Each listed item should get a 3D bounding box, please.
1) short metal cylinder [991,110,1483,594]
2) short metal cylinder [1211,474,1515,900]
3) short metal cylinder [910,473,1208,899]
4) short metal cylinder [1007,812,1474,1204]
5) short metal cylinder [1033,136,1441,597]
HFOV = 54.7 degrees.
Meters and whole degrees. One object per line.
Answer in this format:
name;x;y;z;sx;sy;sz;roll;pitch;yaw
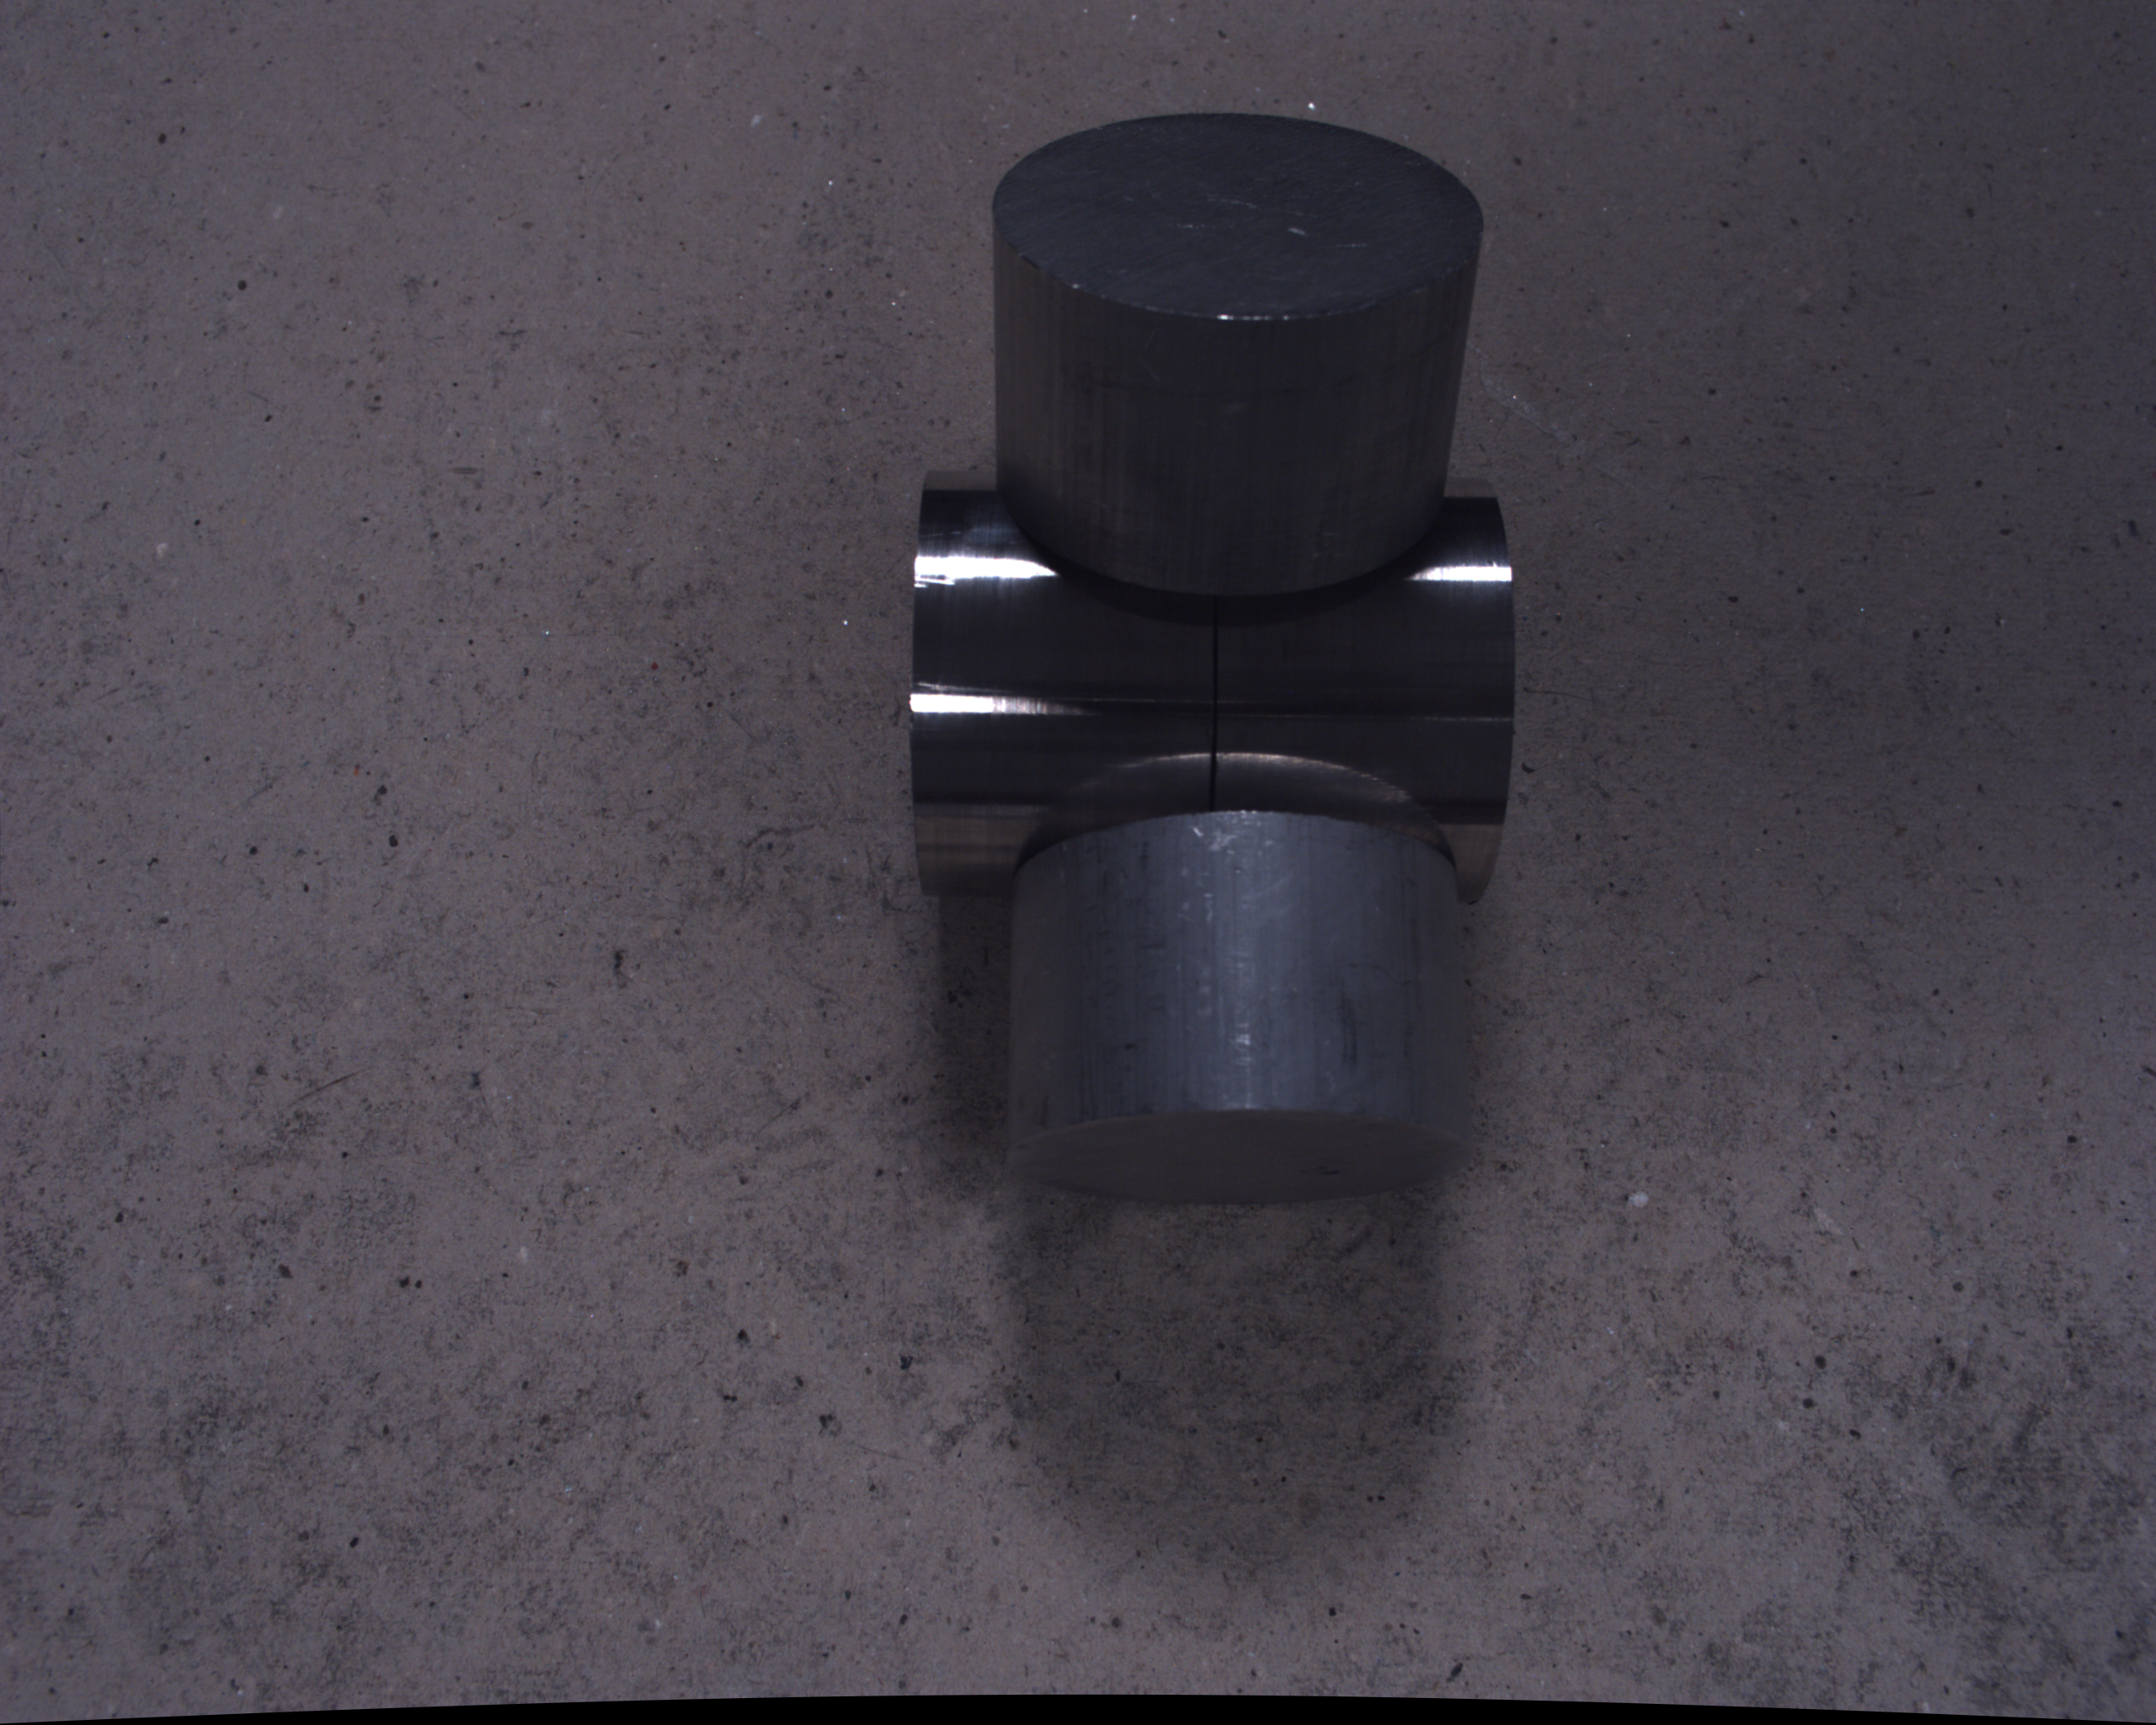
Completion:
short metal cylinder;0.026;-0.089;0.359;0.081;0.050;0.080;1;41;0
short metal cylinder;0.049;-0.033;0.392;0.050;0.080;0.080;0;70;0
short metal cylinder;-0.003;-0.033;0.393;0.050;0.080;0.080;1;70;0
short metal cylinder;0.028;0.029;0.370;0.081;0.080;0.050;0;70;0
short metal cylinder;0.031;-0.102;0.435;0.081;0.050;0.080;0;70;0
